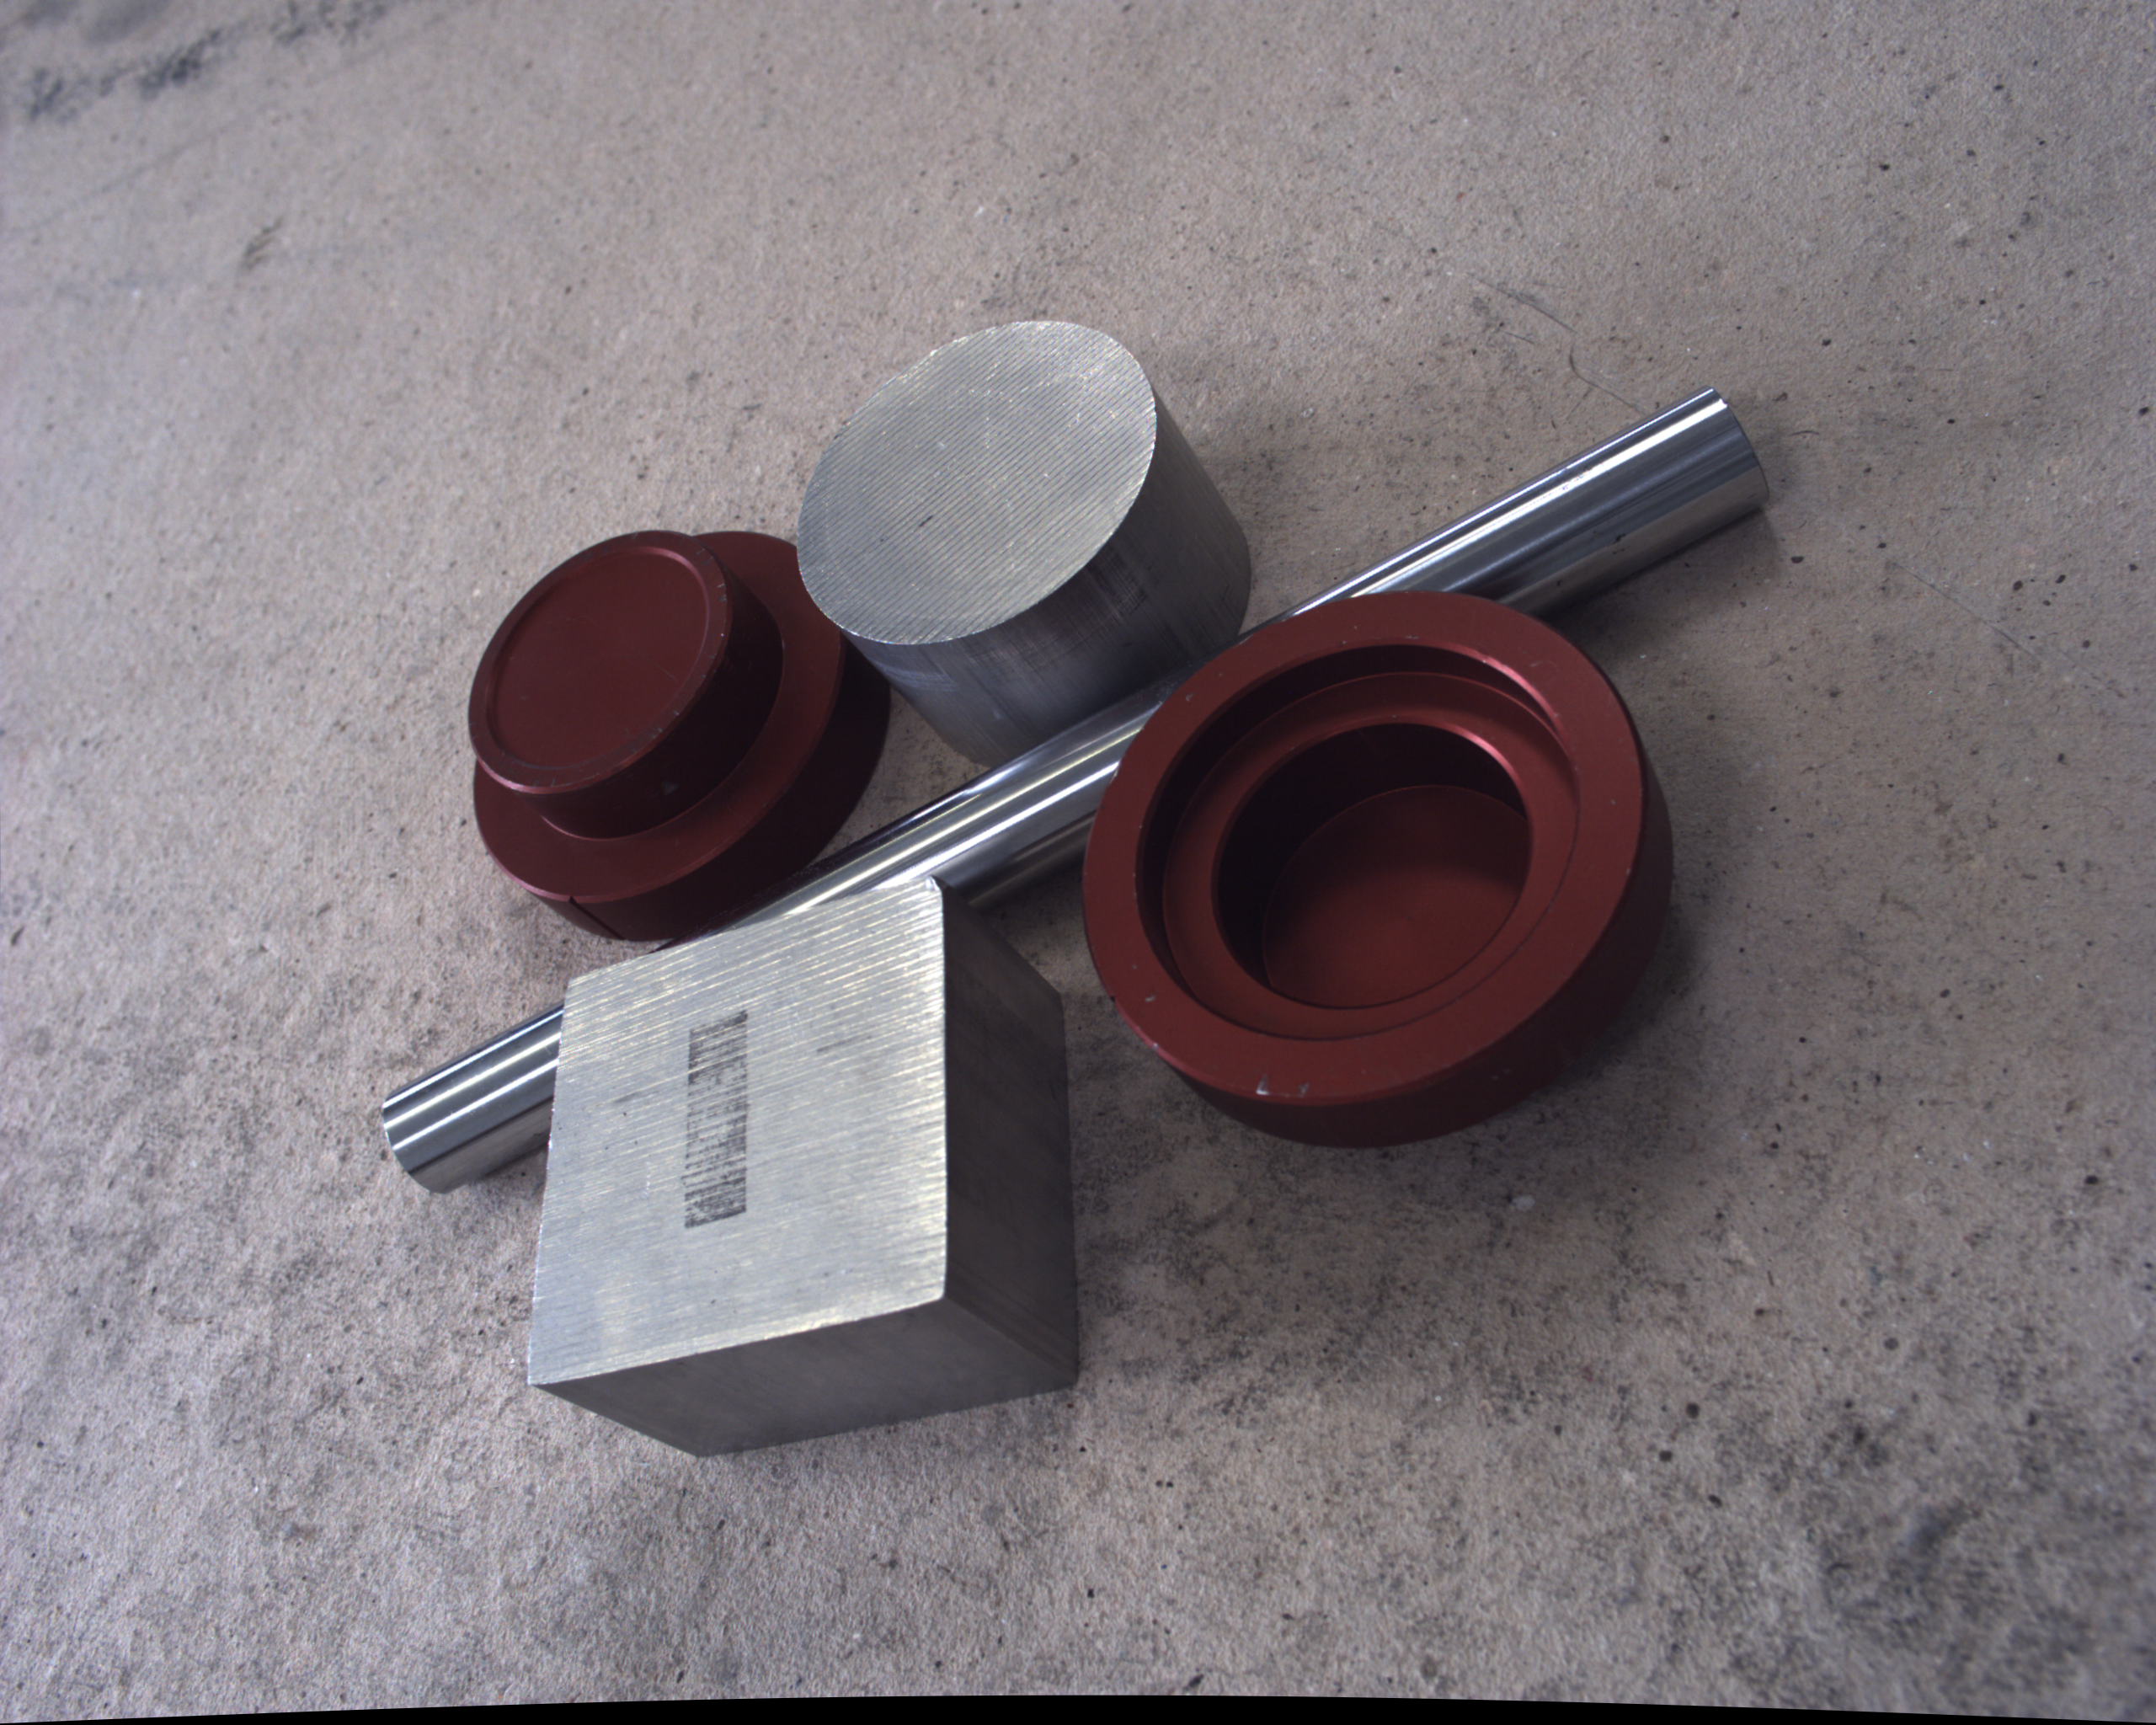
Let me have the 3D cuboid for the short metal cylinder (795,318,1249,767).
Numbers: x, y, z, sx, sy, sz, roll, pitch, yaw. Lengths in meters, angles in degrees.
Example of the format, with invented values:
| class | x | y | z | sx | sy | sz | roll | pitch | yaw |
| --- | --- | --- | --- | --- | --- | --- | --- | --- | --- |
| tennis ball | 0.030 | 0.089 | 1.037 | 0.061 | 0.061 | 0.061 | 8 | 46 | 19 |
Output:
| class | x | y | z | sx | sy | sz | roll | pitch | yaw |
| --- | --- | --- | --- | --- | --- | --- | --- | --- | --- |
| short metal cylinder | -0.011 | -0.066 | 0.435 | 0.080 | 0.050 | 0.080 | -13 | 56 | 21 |

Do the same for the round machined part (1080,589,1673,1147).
| class | x | y | z | sx | sy | sz | roll | pitch | yaw |
| --- | --- | --- | --- | --- | --- | --- | --- | --- | --- |
| round machined part | 0.054 | 0.004 | 0.363 | 0.098 | 0.042 | 0.098 | -13 | 56 | 21 |

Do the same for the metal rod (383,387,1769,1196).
| class | x | y | z | sx | sy | sz | roll | pitch | yaw |
| --- | --- | --- | --- | --- | --- | --- | --- | --- | --- |
| metal rod | -0.008 | -0.009 | 0.416 | 0.300 | 0.025 | 0.025 | -28 | 52 | 10 |

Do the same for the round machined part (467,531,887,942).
| class | x | y | z | sx | sy | sz | roll | pitch | yaw |
| --- | --- | --- | --- | --- | --- | --- | --- | --- | --- |
| round machined part | -0.096 | -0.035 | 0.466 | 0.098 | 0.042 | 0.098 | -13 | 56 | 21 |

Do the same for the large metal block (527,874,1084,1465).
| class | x | y | z | sx | sy | sz | roll | pitch | yaw |
| --- | --- | --- | --- | --- | --- | --- | --- | --- | --- |
| large metal block | -0.048 | 0.057 | 0.380 | 0.080 | 0.050 | 0.080 | -16 | 55 | 19 |
